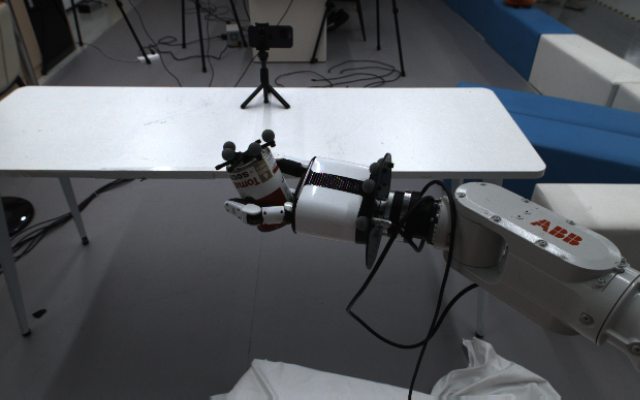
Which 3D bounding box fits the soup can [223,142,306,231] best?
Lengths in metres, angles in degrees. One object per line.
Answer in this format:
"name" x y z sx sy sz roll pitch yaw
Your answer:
"soup can" -0.078 -0.015 0.679 0.067 0.101 0.067 -22 24 10
